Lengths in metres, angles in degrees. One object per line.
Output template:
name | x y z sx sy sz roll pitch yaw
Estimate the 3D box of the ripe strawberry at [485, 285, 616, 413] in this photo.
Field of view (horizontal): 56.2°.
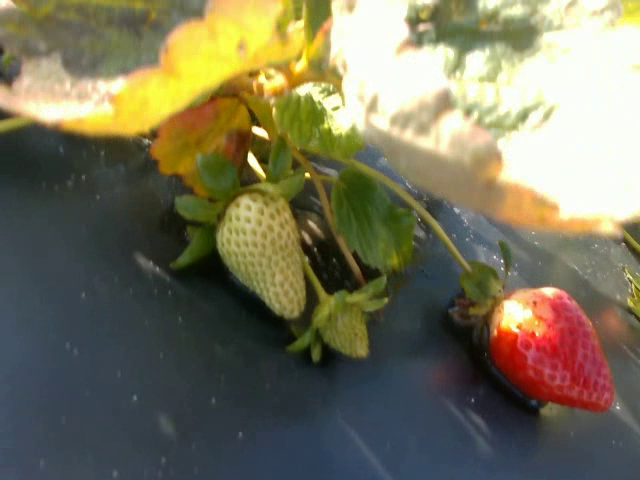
ripe strawberry | 0.065 0.031 0.160 0.030 0.045 0.033 -36 -21 -11
